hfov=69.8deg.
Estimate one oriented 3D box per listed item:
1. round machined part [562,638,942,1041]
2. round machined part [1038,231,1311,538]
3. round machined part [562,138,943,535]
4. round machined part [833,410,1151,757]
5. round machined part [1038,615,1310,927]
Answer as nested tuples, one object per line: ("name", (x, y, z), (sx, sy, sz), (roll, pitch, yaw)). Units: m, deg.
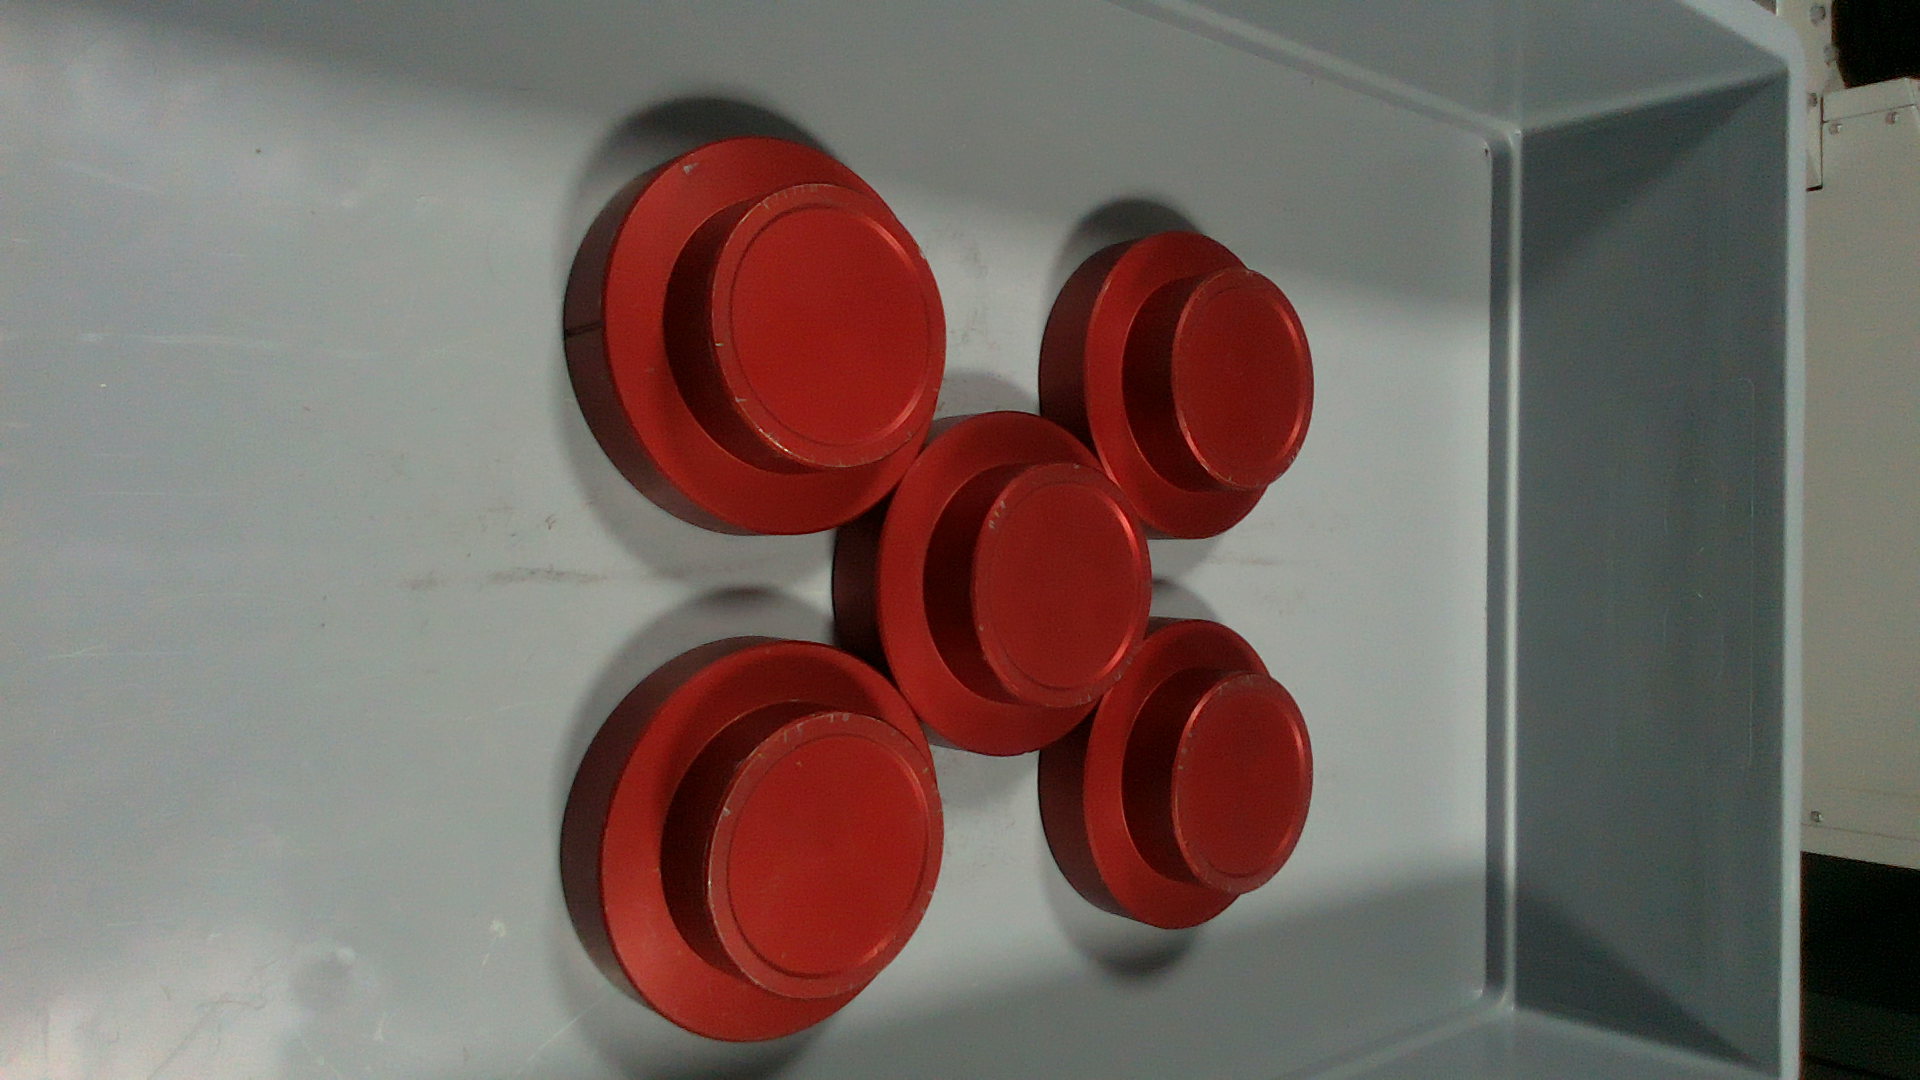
("round machined part", (-0.043, 0.074, 0.341), (0.098, 0.042, 0.098), (0, 90, -40))
("round machined part", (0.074, -0.049, 0.439), (0.098, 0.042, 0.098), (0, 90, -40))
("round machined part", (-0.043, -0.050, 0.341), (0.098, 0.042, 0.098), (0, 90, -40))
("round machined part", (0.016, 0.012, 0.389), (0.098, 0.042, 0.098), (0, 90, -40))
("round machined part", (0.074, 0.074, 0.439), (0.098, 0.042, 0.098), (0, 90, -40))
